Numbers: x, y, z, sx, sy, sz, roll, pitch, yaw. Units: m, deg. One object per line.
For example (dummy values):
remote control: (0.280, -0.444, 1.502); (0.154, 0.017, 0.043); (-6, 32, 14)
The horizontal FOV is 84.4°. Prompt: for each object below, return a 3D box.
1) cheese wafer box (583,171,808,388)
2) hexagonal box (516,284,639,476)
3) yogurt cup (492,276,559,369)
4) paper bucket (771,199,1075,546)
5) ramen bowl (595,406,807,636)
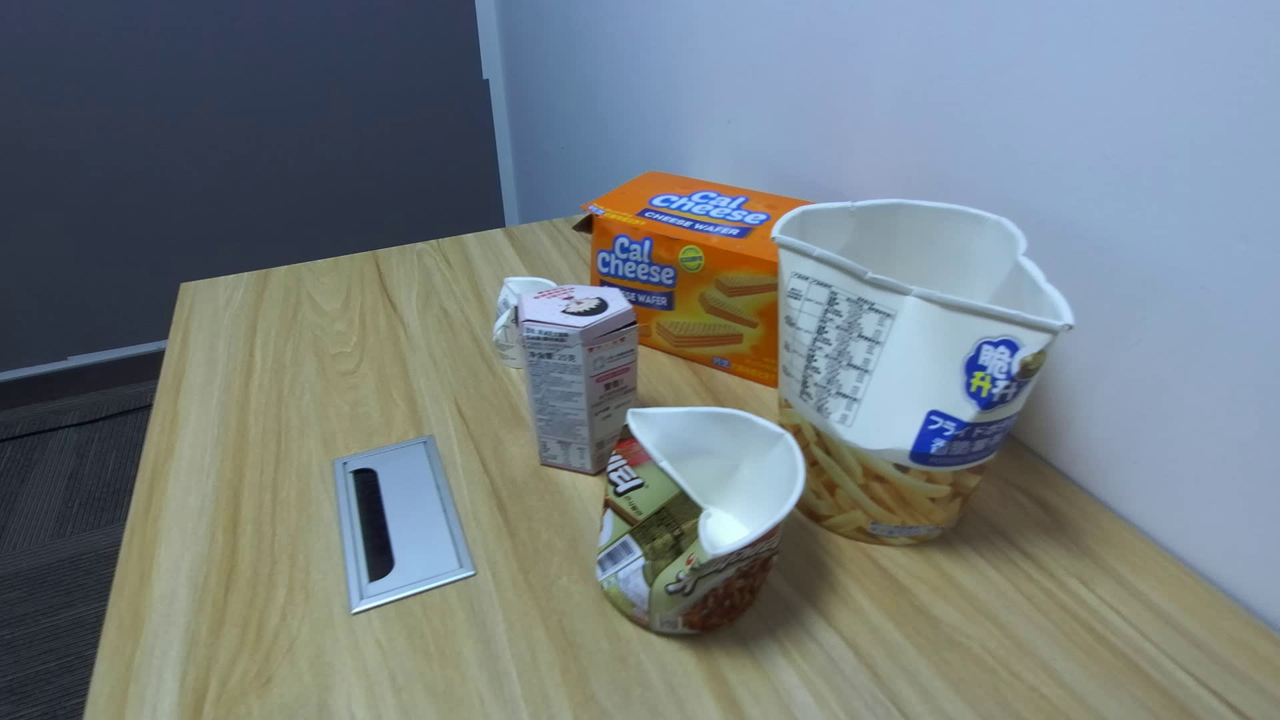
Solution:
cheese wafer box: (0.069, -0.092, 0.707); (0.226, 0.137, 0.150); (19, 39, 25)
hexagonal box: (-0.047, 0.012, 0.554); (0.092, 0.135, 0.084); (-27, 41, -33)
yogurt cup: (-0.109, -0.037, 0.683); (0.067, 0.070, 0.067); (0, 34, 1)
paper bucket: (0.169, 0.009, 0.504); (0.162, 0.202, 0.169); (4, 32, 9)
ramen bowl: (0.037, 0.104, 0.453); (0.137, 0.098, 0.137); (1, 37, 0)
